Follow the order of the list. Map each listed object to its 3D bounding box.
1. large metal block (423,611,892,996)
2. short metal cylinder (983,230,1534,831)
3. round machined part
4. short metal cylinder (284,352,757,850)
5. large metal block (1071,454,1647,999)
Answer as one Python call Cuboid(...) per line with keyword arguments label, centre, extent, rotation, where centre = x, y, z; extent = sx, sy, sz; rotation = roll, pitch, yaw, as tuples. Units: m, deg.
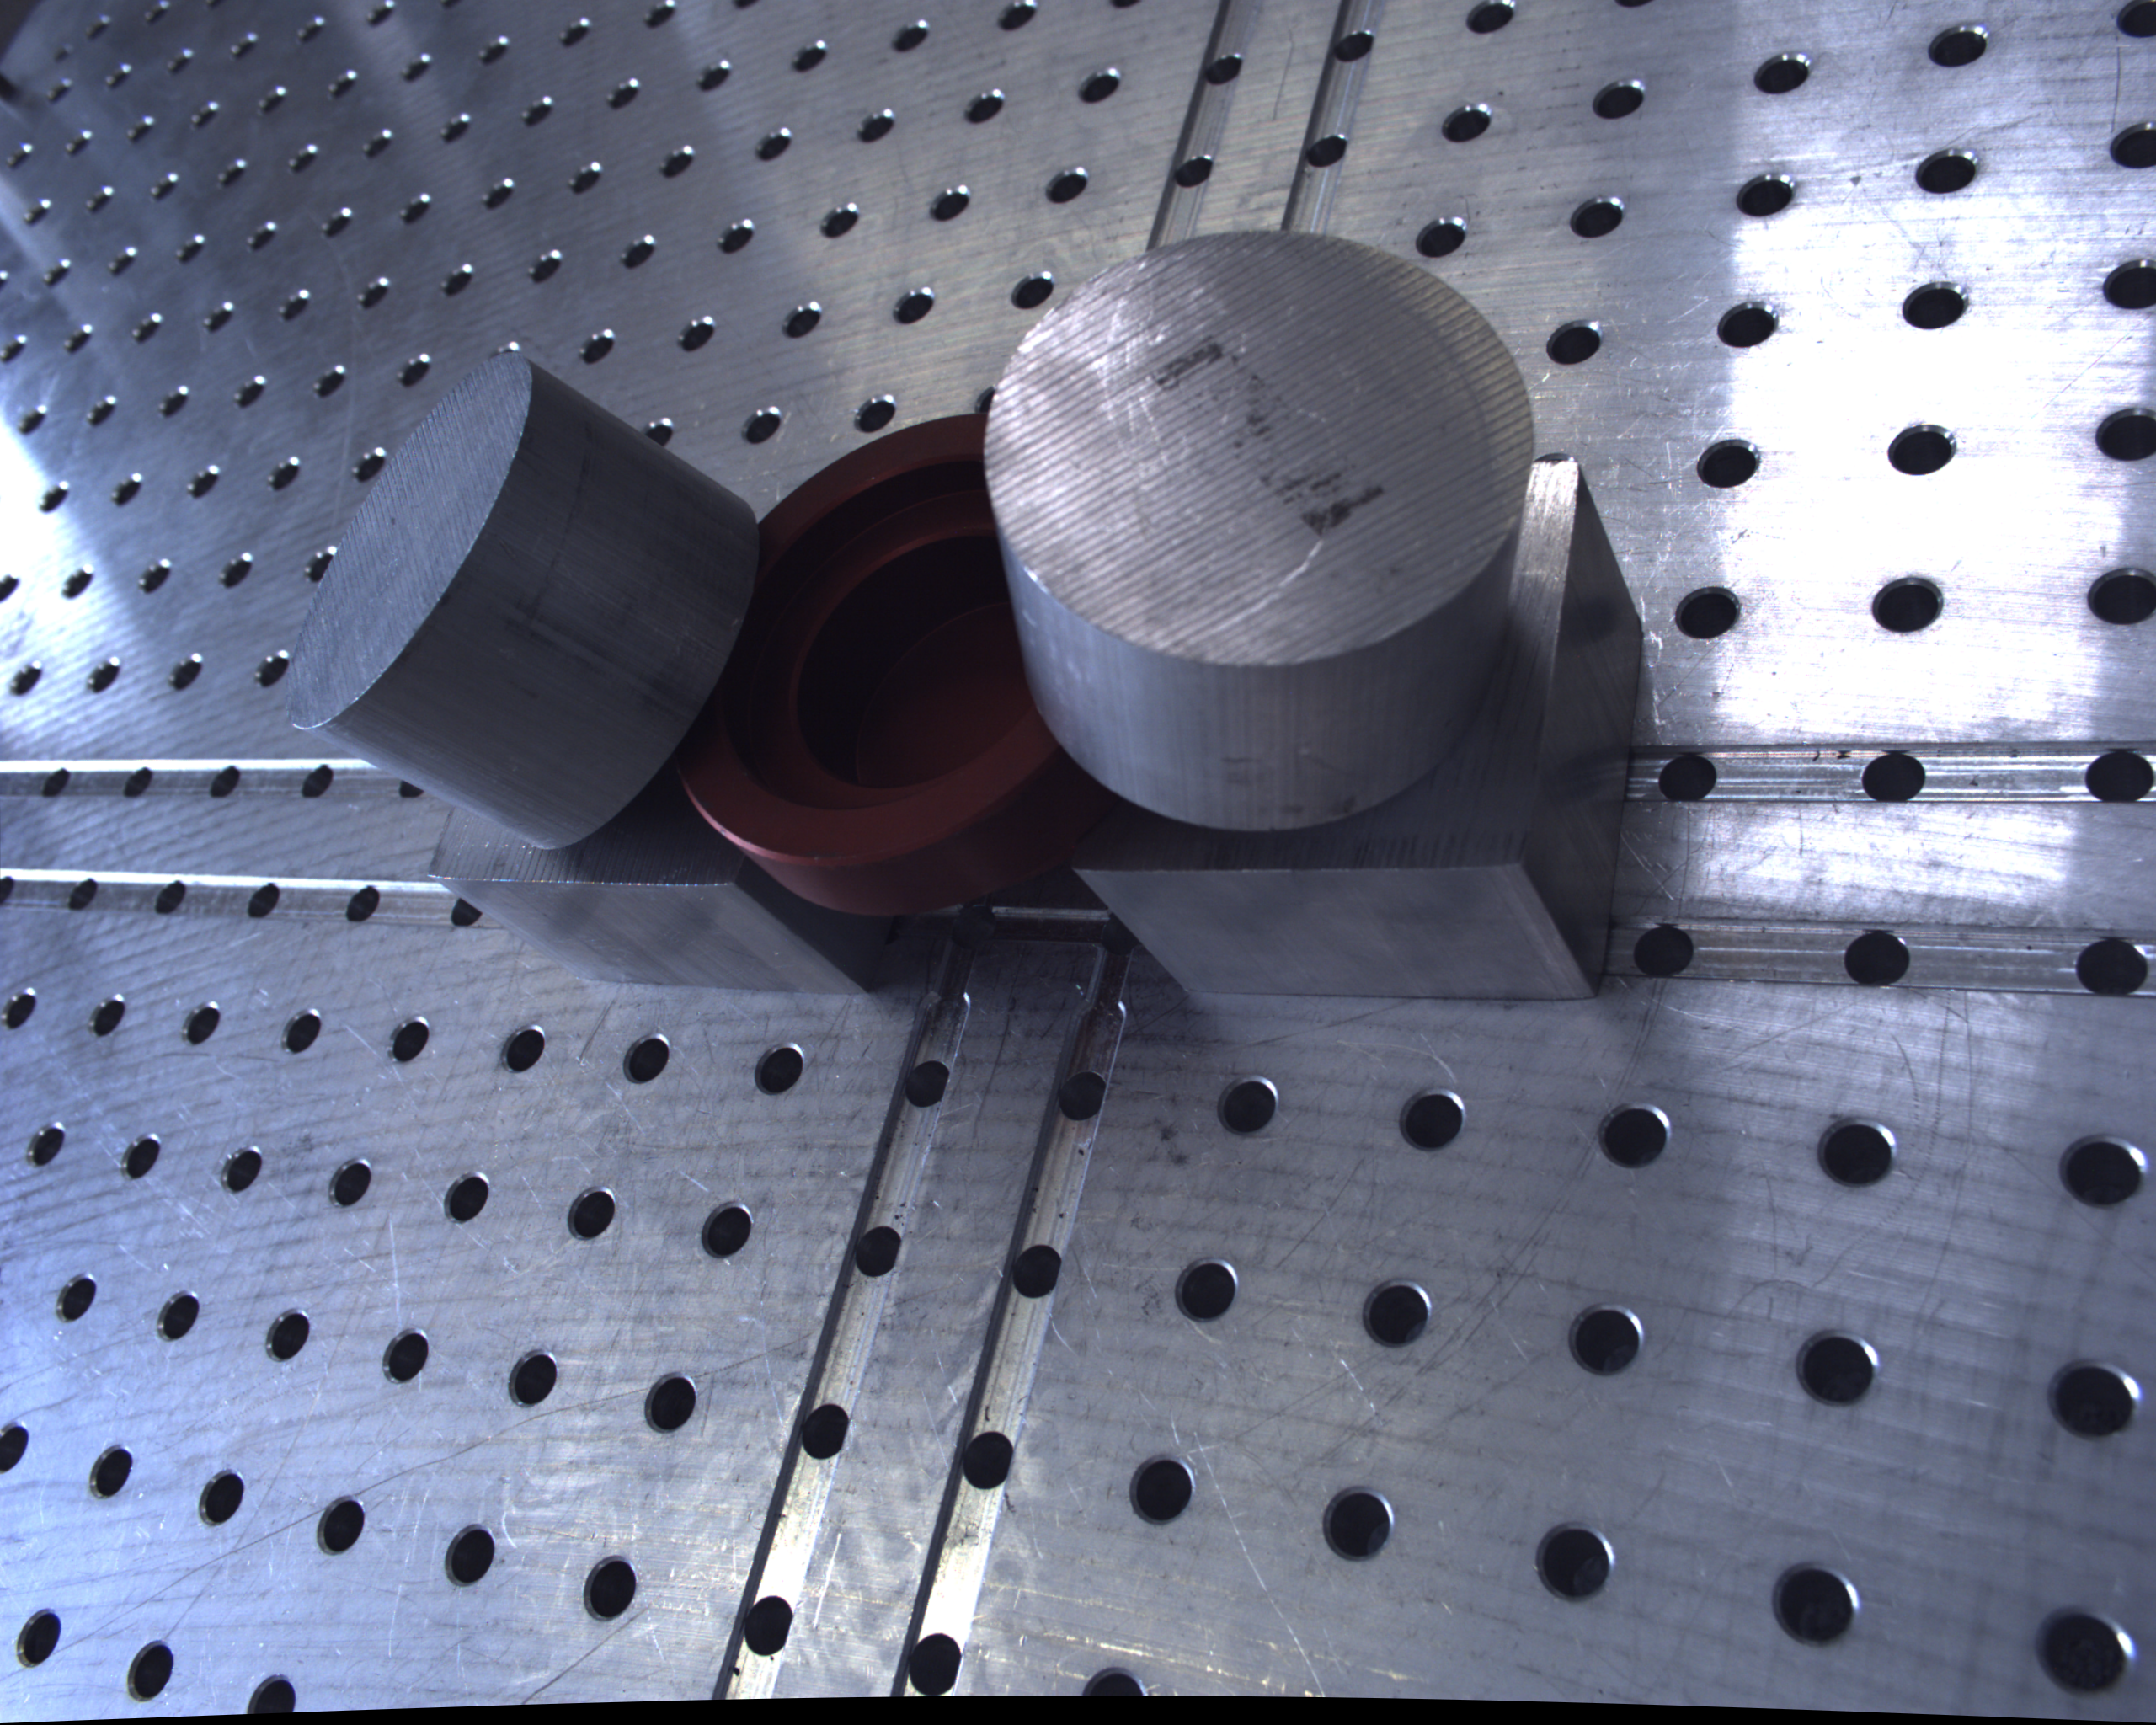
Cuboid(label="large metal block", centre=(-0.079, -0.020, 0.446), extent=(0.080, 0.050, 0.080), rotation=(1, 62, 28))
Cuboid(label="short metal cylinder", centre=(0.028, -0.052, 0.328), extent=(0.080, 0.050, 0.080), rotation=(-2, 63, 4))
Cuboid(label="round machined part", centre=(-0.024, -0.033, 0.393), extent=(0.098, 0.042, 0.098), rotation=(-13, 56, 21))
Cuboid(label="short metal cylinder", centre=(-0.106, -0.049, 0.397), extent=(0.080, 0.050, 0.080), rotation=(-31, 43, 34))
Cuboid(label="large metal block", centre=(0.053, -0.023, 0.378), extent=(0.080, 0.050, 0.080), rotation=(-1, 61, 28))
